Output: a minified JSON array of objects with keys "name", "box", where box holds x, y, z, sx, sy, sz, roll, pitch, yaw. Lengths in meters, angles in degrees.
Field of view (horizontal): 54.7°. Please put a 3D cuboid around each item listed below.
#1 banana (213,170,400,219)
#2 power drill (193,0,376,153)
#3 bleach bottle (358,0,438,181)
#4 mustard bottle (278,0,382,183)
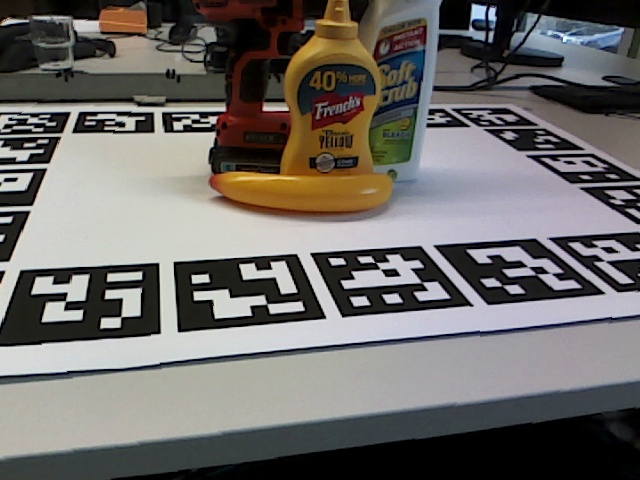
[{"name":"banana","box":[-0.008,-0.048,0.621,0.197,0.039,0.074,-2,31,-7]},{"name":"power drill","box":[-0.042,-0.188,0.651,0.184,0.186,0.057,4,28,-3]},{"name":"bleach bottle","box":[0.069,-0.190,0.662,0.102,0.250,0.068,-2,24,-10]},{"name":"mustard bottle","box":[0.011,-0.138,0.609,0.096,0.191,0.059,-2,30,-13]}]
